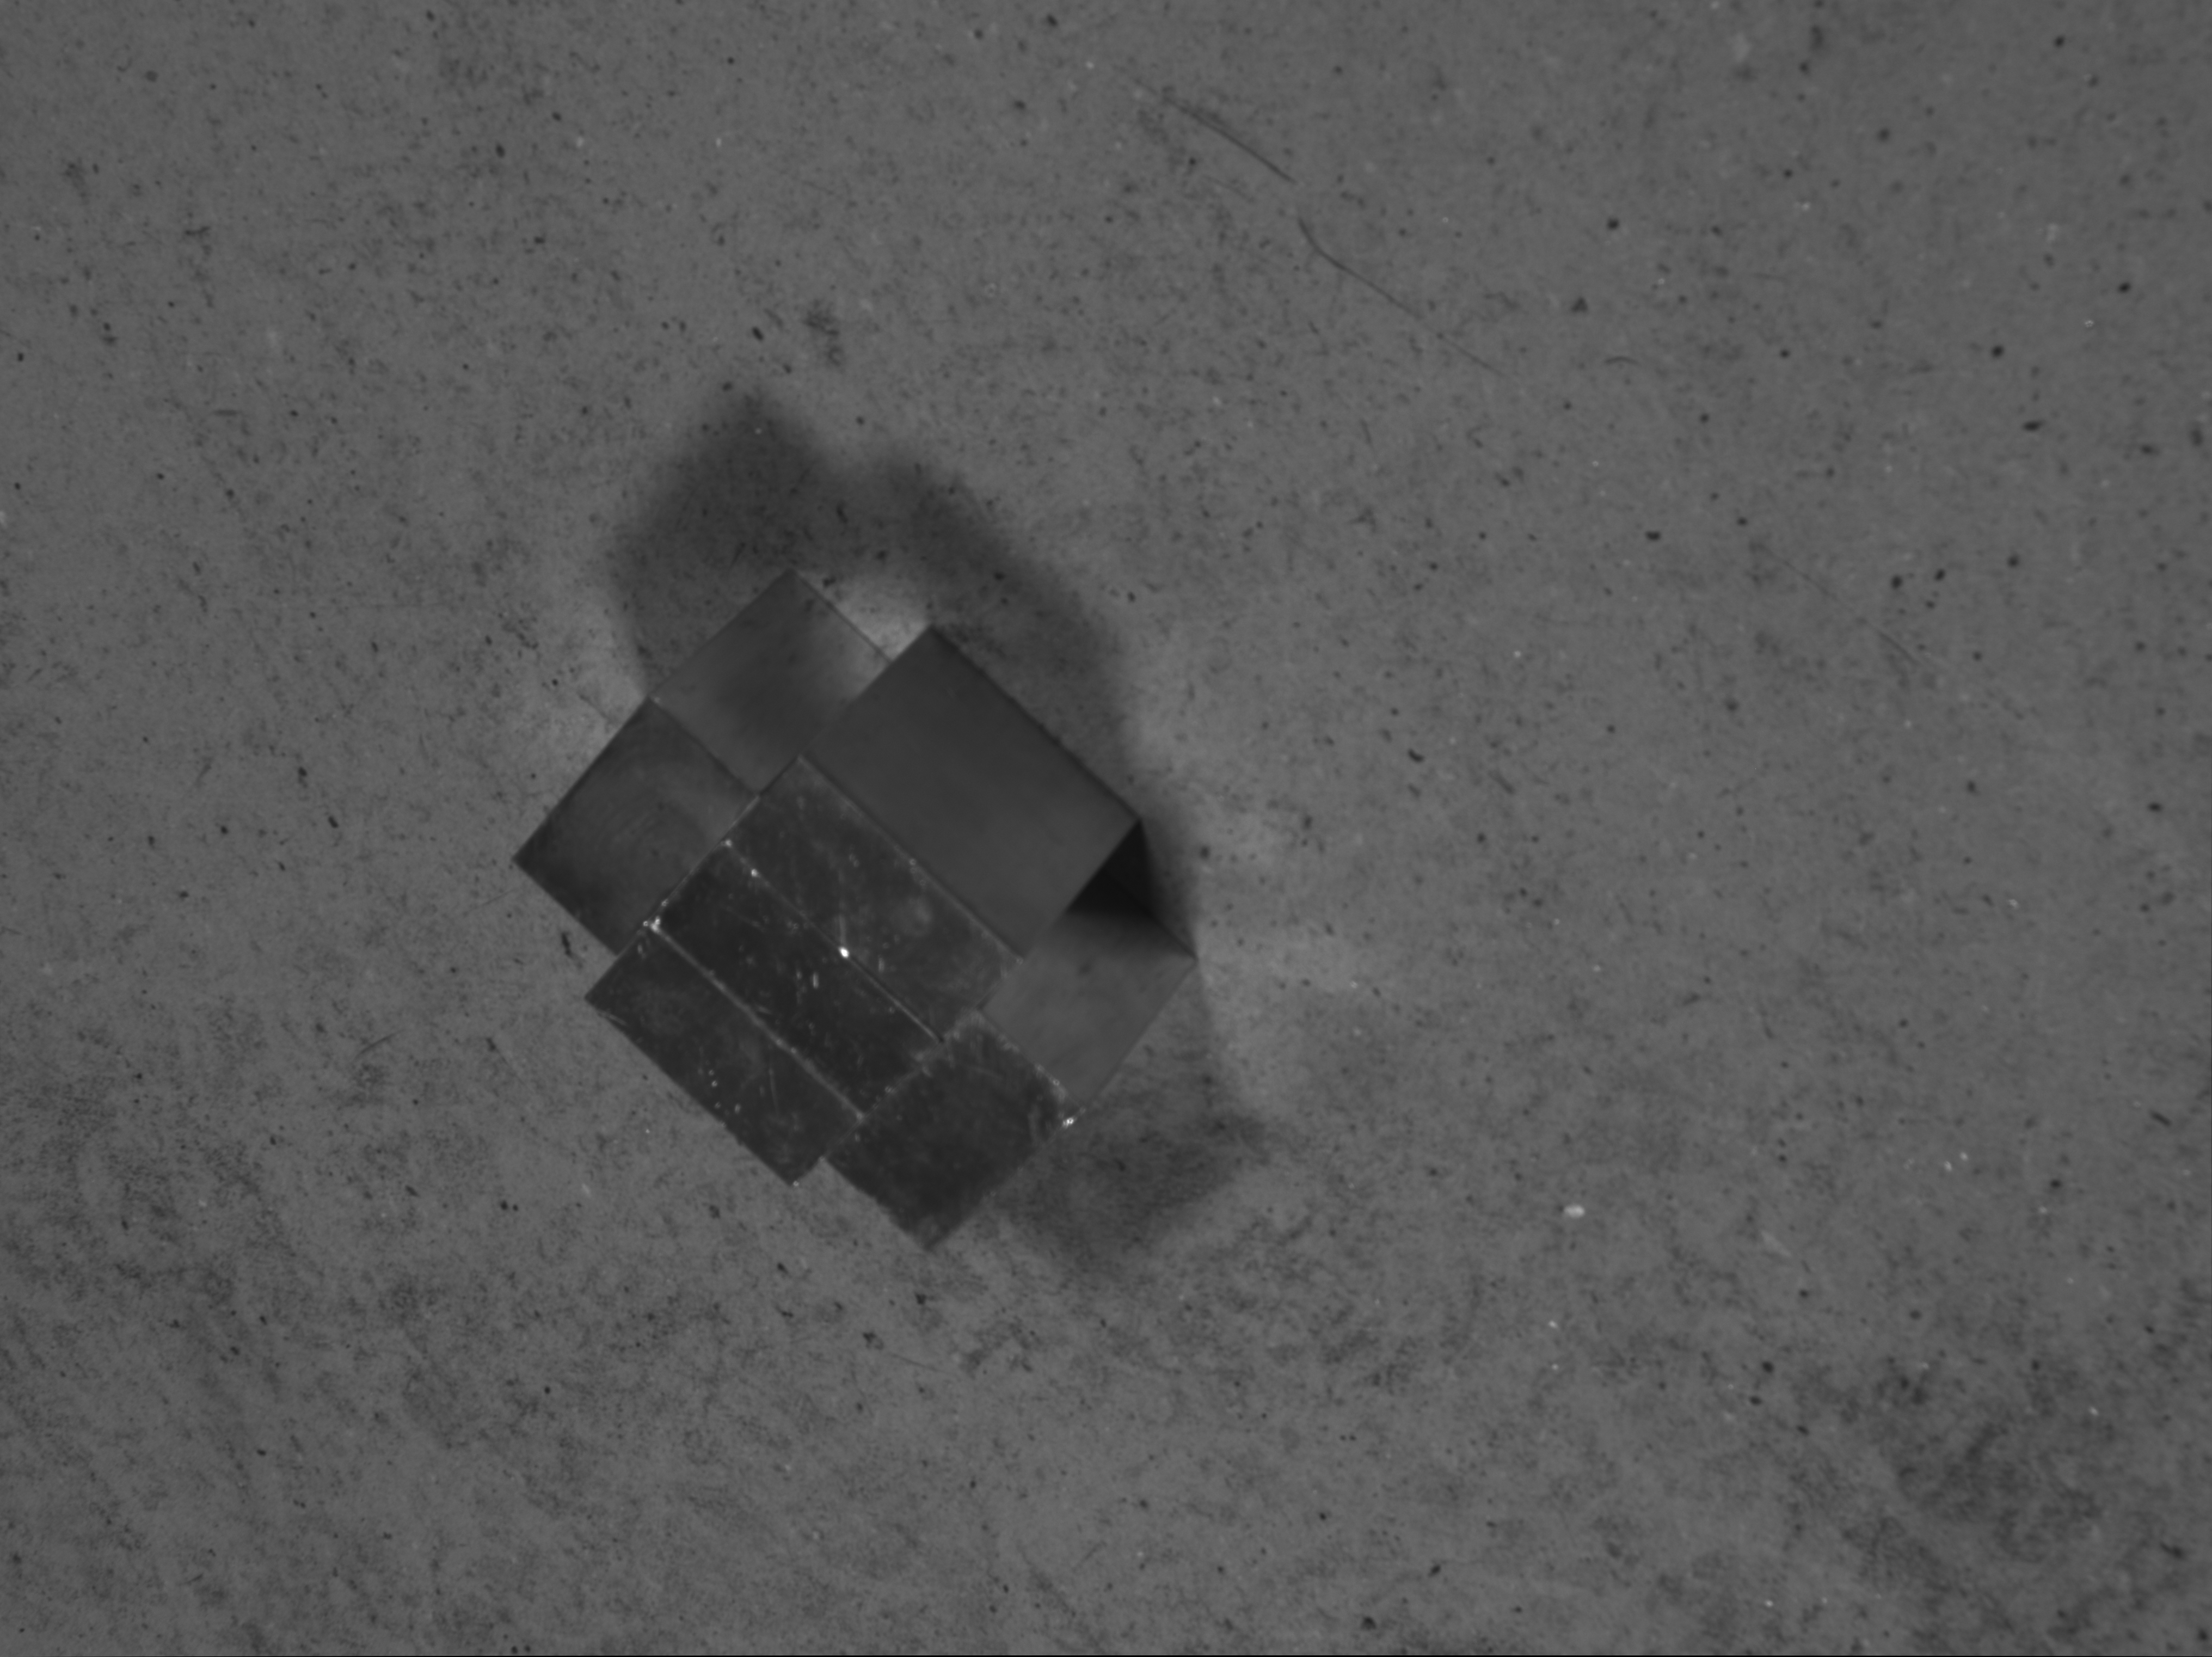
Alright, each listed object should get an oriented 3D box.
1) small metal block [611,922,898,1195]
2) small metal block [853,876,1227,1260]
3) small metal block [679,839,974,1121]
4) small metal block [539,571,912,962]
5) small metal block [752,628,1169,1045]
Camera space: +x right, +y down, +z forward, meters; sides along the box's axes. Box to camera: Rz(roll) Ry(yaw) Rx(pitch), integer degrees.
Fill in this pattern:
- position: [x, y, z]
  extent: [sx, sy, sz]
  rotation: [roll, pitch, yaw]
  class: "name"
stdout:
- position: [-0.052, 0.029, 0.658]
  extent: [0.050, 0.050, 0.025]
  rotation: [43, 128, -2]
  class: "small metal block"
- position: [-0.011, 0.041, 0.645]
  extent: [0.025, 0.050, 0.050]
  rotation: [43, 128, -2]
  class: "small metal block"
- position: [-0.038, 0.015, 0.643]
  extent: [0.050, 0.050, 0.025]
  rotation: [43, 128, -2]
  class: "small metal block"
- position: [-0.065, -0.011, 0.641]
  extent: [0.025, 0.050, 0.050]
  rotation: [43, 128, -2]
  class: "small metal block"
- position: [-0.024, 0.001, 0.627]
  extent: [0.050, 0.050, 0.025]
  rotation: [42, 128, -2]
  class: "small metal block"
